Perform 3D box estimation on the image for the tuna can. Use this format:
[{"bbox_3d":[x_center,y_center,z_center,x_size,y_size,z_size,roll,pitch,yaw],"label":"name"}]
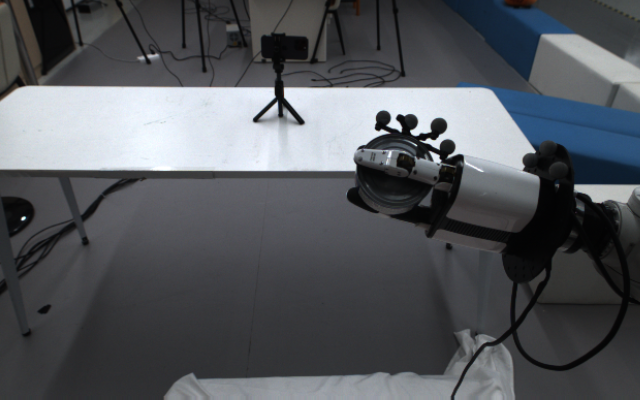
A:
[{"bbox_3d":[0.083,-0.032,0.538,0.085,0.034,0.085,0,72,0],"label":"tuna can"}]
